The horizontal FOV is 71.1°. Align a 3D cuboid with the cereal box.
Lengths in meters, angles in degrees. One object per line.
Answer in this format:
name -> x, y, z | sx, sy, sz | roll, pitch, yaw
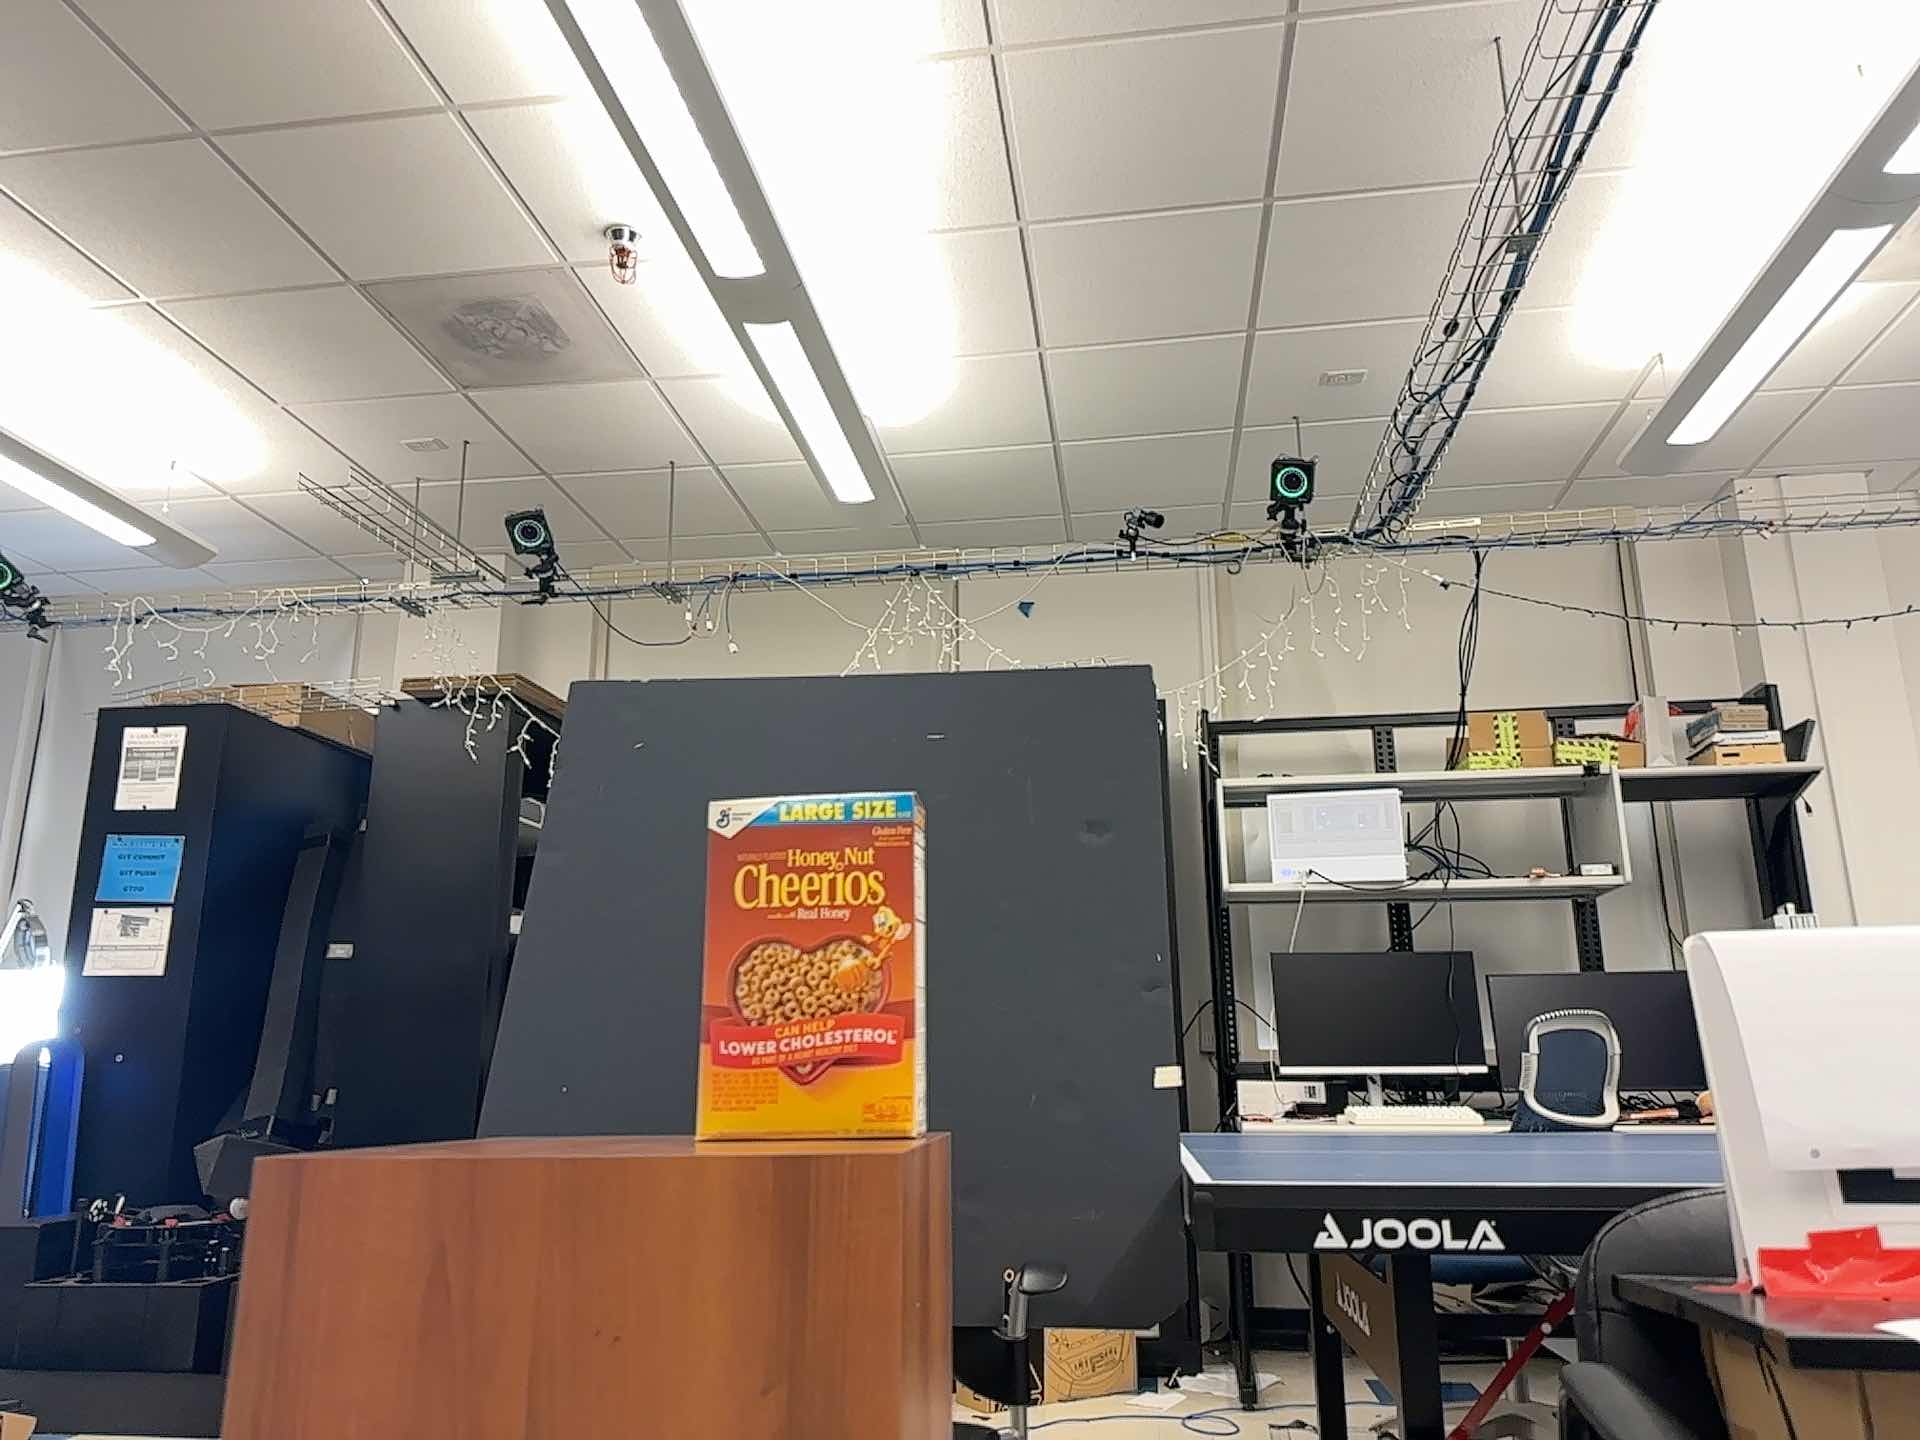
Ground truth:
cereal box -> -0.136, 0.215, 1.215 | 0.195, 0.297, 0.065 | -4, -12, 14
